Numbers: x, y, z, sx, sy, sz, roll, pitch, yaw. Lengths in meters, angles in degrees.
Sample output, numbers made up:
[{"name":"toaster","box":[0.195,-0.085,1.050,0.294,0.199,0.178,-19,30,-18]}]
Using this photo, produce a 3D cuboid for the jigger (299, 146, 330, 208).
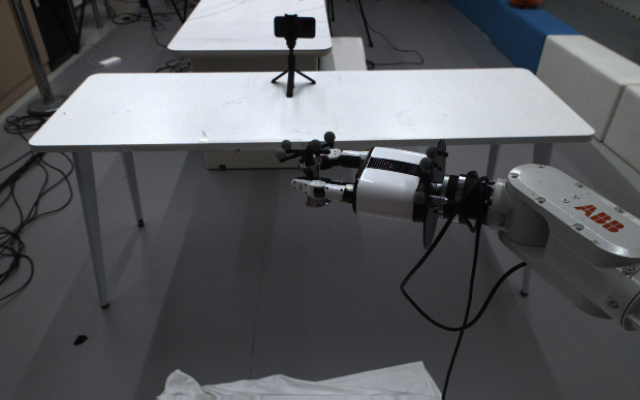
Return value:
[{"name":"jigger","box":[-0.009,-0.028,0.753,0.043,0.071,0.043,-11,24,5]}]
